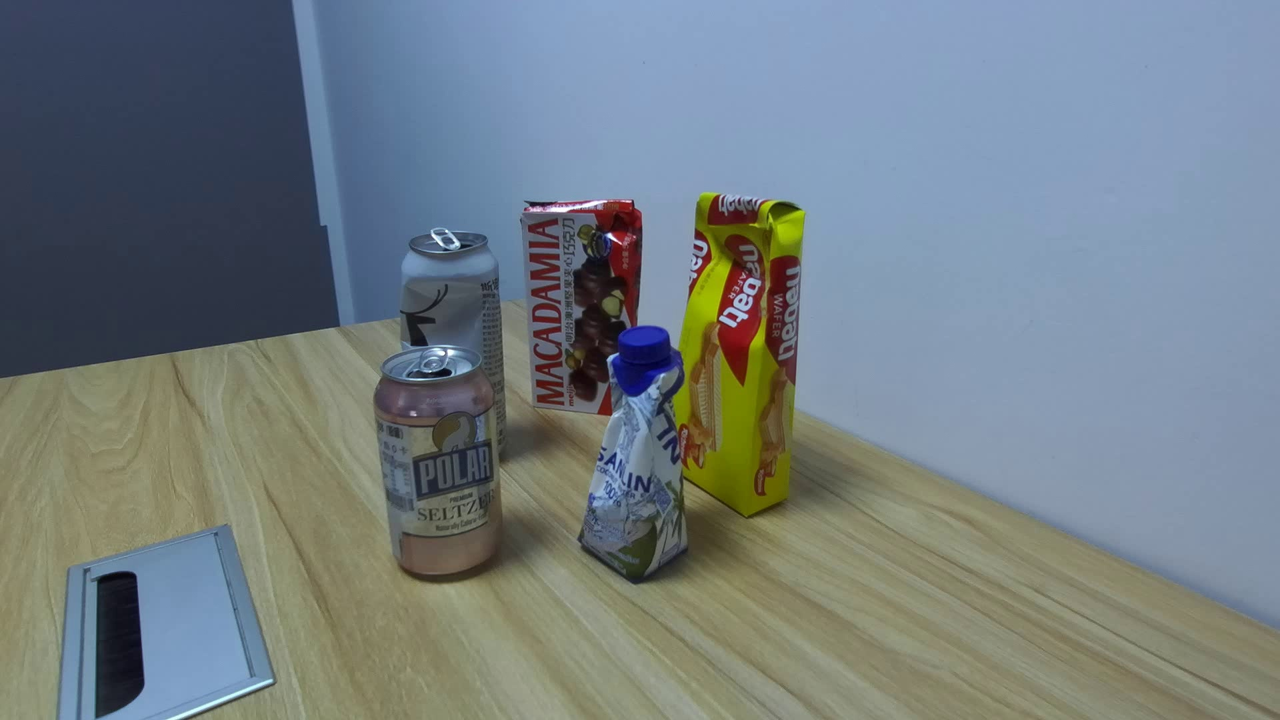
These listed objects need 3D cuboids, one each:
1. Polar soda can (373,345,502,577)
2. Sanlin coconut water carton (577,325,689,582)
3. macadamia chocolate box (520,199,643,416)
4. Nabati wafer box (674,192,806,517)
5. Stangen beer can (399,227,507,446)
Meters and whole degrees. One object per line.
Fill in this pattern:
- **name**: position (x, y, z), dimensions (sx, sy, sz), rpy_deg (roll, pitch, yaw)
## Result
- **Polar soda can**: position (-0.117, 0.059, 0.415), dimensions (0.067, 0.125, 0.067), rpy_deg (1, 19, 0)
- **Sanlin coconut water carton**: position (0.009, 0.052, 0.415), dimensions (0.056, 0.144, 0.069), rpy_deg (25, 22, 36)
- **macadamia chocolate box**: position (-0.046, -0.043, 0.601), dimensions (0.102, 0.187, 0.027), rpy_deg (8, 26, 15)
- **Nabati wafer box**: position (0.062, -0.005, 0.479), dimensions (0.043, 0.205, 0.112), rpy_deg (-11, 22, -34)
- **Stangen beer can**: position (-0.136, -0.007, 0.524), dimensions (0.070, 0.173, 0.070), rpy_deg (-16, 26, -36)
